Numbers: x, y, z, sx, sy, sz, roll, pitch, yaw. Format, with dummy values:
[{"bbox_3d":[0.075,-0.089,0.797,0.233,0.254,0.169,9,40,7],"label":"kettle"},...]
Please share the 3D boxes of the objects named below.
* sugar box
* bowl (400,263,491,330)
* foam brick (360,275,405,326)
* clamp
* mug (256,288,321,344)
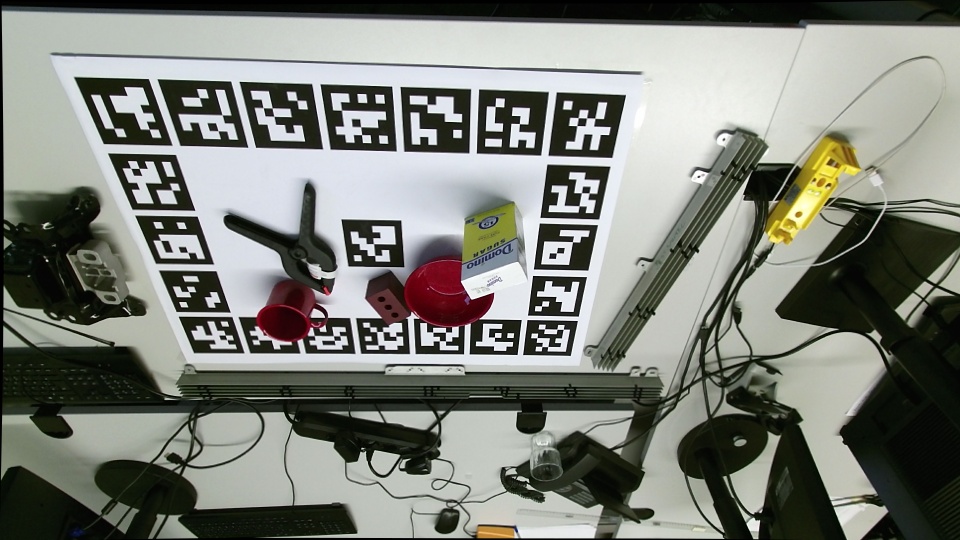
[{"bbox_3d":[0.019,-0.031,0.852,0.093,0.176,0.045,-20,122,13],"label":"sugar box"},{"bbox_3d":[-0.061,0.042,0.975,0.162,0.055,0.161,0,126,0],"label":"bowl"},{"bbox_3d":[-0.179,0.059,0.992,0.053,0.051,0.078,-23,122,12],"label":"foam brick"},{"bbox_3d":[-0.313,-0.023,0.924,0.166,0.036,0.203,-20,123,9],"label":"clamp"},{"bbox_3d":[-0.349,0.091,0.982,0.117,0.081,0.093,24,121,-14],"label":"mug"}]
